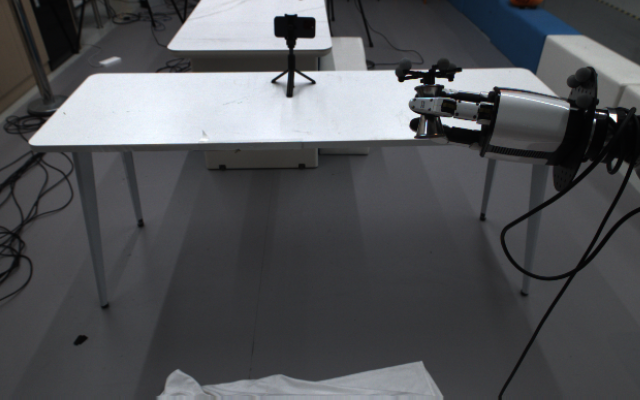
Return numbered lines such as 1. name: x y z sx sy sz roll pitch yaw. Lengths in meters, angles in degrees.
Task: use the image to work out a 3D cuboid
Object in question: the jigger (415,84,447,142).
1. jigger: 0.149 -0.120 0.662 0.043 0.071 0.043 -2 3 0
